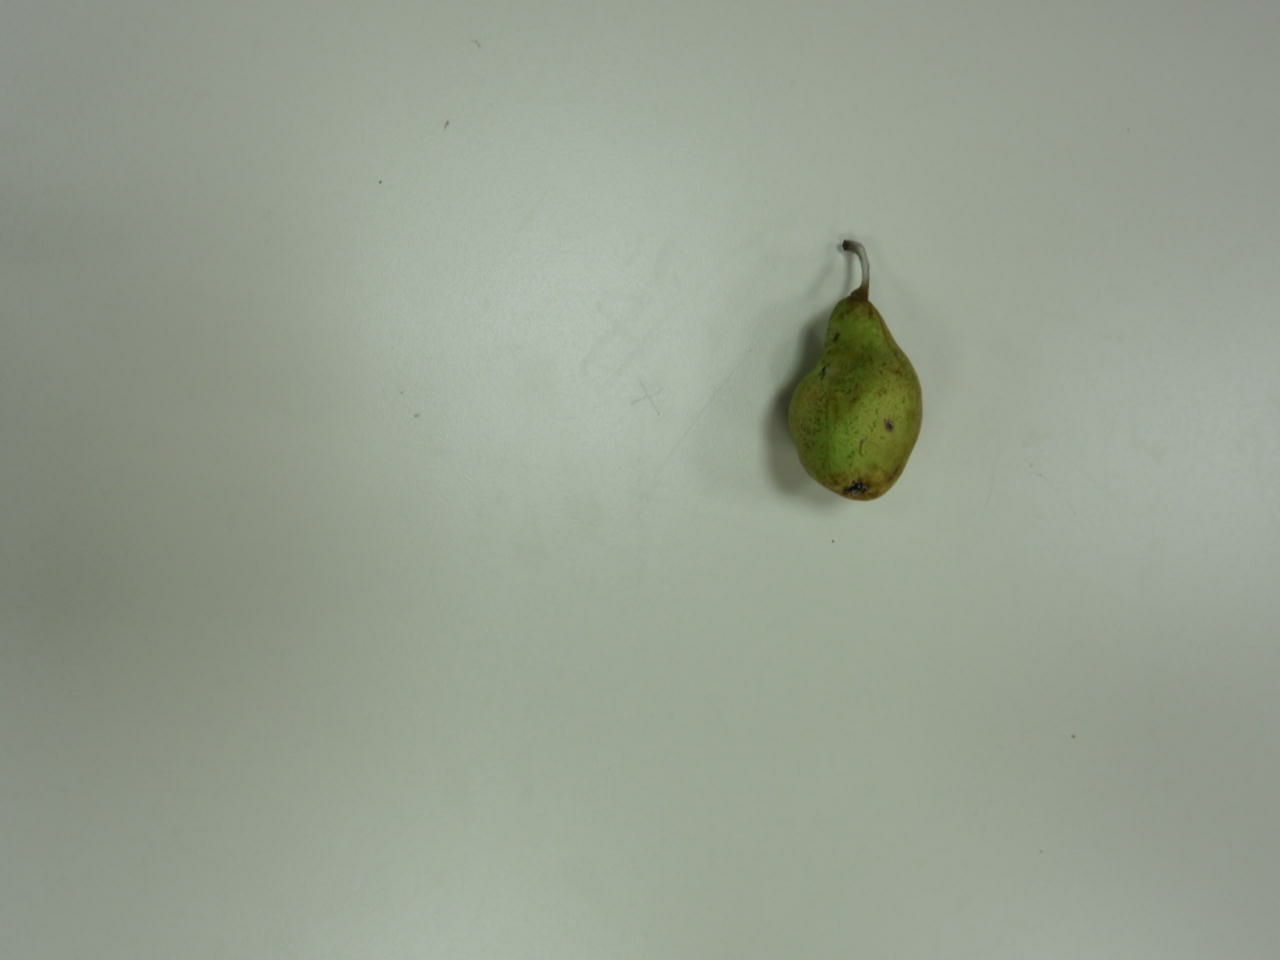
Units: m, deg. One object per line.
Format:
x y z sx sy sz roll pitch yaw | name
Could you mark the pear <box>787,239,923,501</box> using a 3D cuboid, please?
0.100 -0.046 0.425 0.056 0.056 0.111 25 85 -10 | pear
